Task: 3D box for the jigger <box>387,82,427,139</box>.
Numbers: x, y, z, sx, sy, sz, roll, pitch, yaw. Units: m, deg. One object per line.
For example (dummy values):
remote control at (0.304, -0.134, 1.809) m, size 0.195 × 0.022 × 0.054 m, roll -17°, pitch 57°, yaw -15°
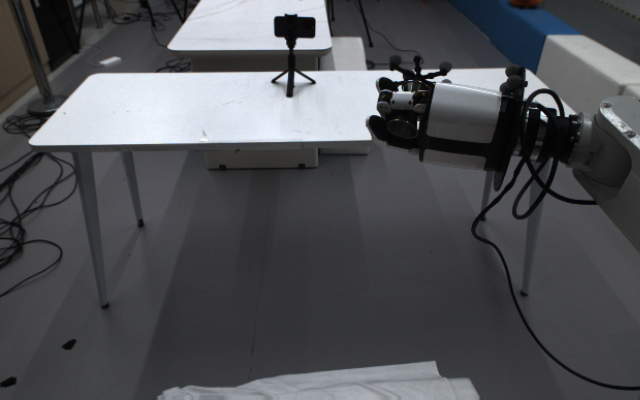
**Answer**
jigger at (0.123, -0.124, 0.656) m, size 0.043 × 0.043 × 0.071 m, roll 13°, pitch 69°, yaw 15°
